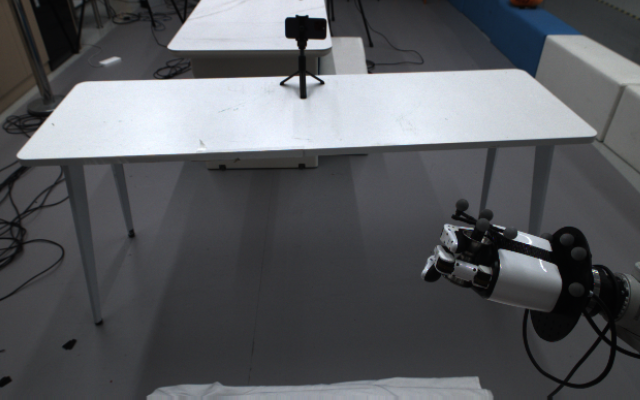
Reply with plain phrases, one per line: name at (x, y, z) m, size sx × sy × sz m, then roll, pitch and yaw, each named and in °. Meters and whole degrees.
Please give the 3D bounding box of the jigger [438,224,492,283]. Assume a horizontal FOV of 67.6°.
jigger at (0.201, 0.079, 0.663) m, size 0.043 × 0.071 × 0.043 m, roll 18°, pitch 17°, yaw -6°
